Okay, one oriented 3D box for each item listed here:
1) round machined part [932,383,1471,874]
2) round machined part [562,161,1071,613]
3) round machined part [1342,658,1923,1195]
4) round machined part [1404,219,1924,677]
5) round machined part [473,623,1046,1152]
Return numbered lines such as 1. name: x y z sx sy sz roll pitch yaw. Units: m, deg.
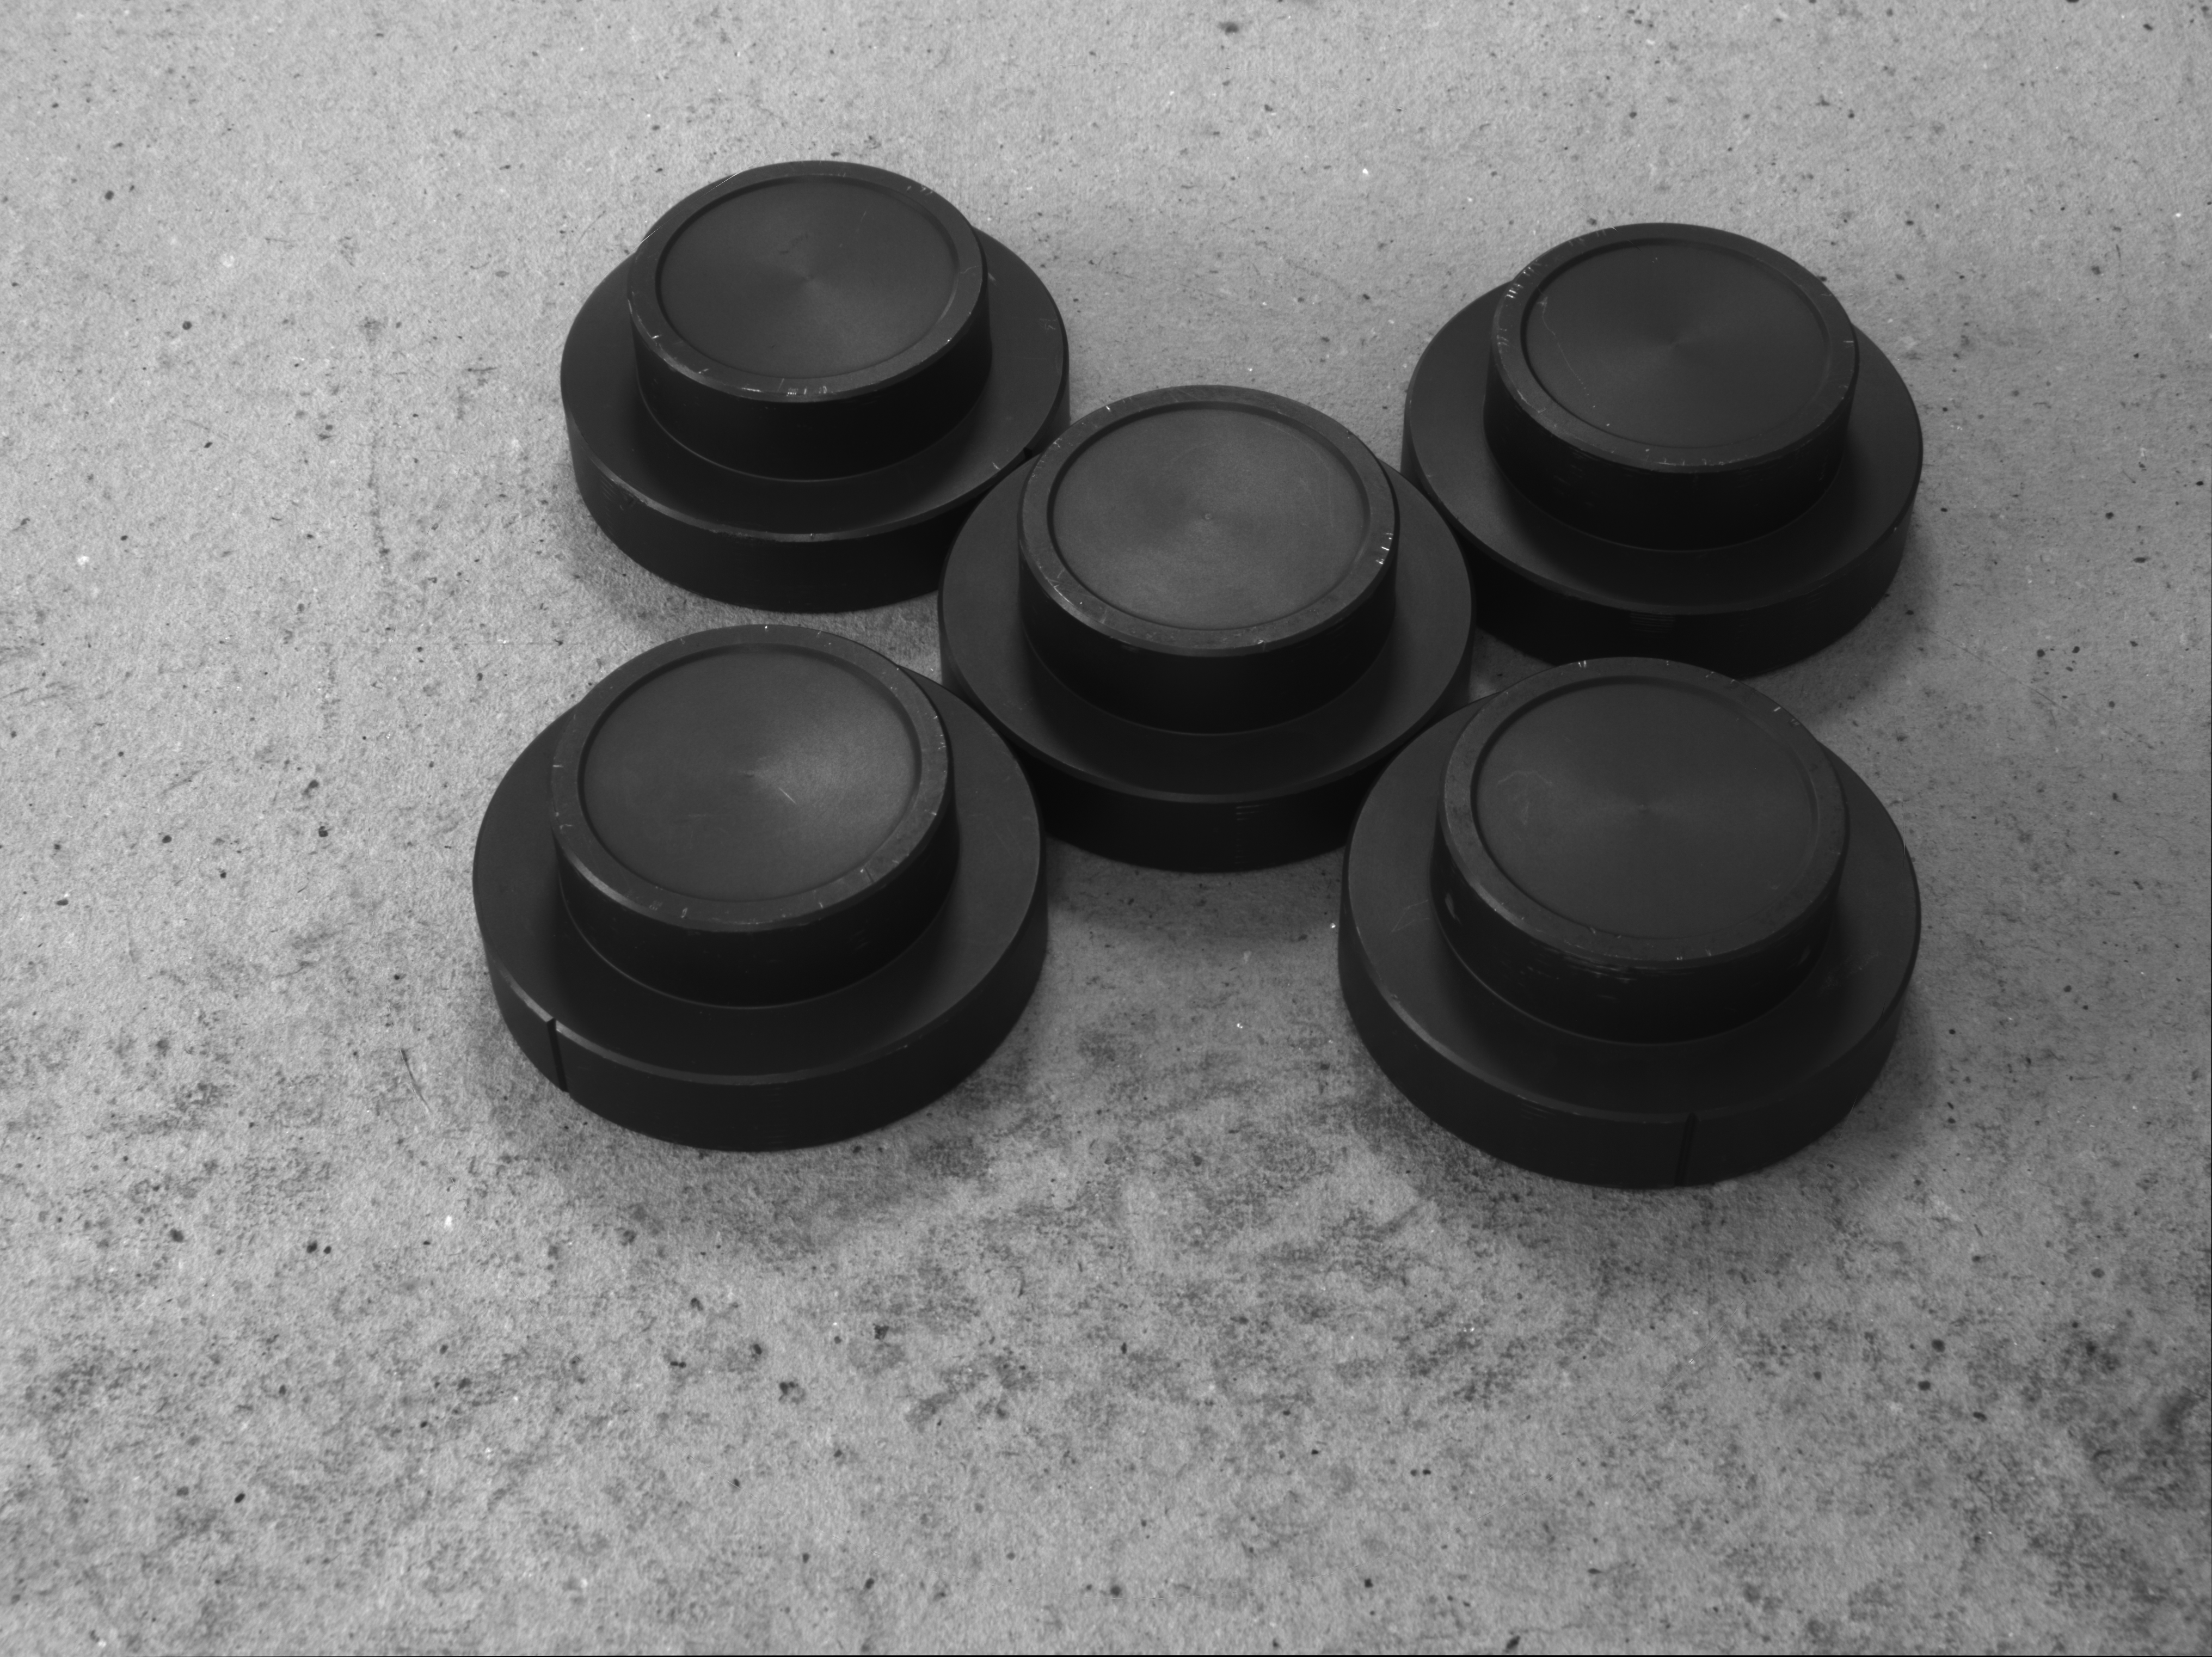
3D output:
1. round machined part: 0.017 -0.043 0.667 0.098 0.042 0.098 0 51 1
2. round machined part: -0.056 -0.091 0.707 0.098 0.042 0.098 0 50 0
3. round machined part: 0.089 0.010 0.623 0.098 0.042 0.098 0 51 1
4. round machined part: 0.106 -0.077 0.695 0.098 0.042 0.098 0 51 1
5. round machined part: -0.059 0.004 0.627 0.098 0.042 0.098 0 51 0
